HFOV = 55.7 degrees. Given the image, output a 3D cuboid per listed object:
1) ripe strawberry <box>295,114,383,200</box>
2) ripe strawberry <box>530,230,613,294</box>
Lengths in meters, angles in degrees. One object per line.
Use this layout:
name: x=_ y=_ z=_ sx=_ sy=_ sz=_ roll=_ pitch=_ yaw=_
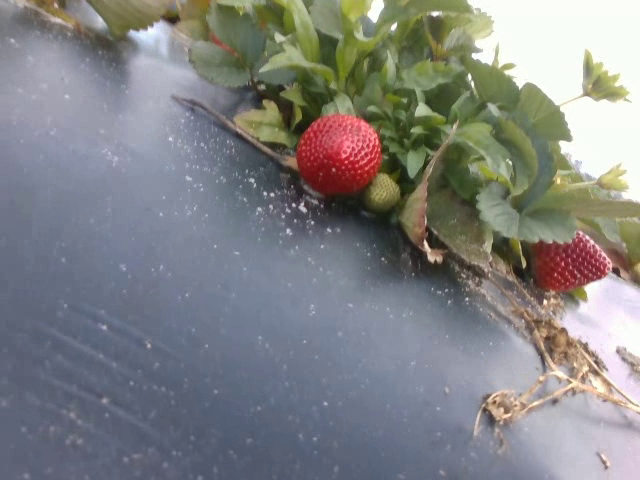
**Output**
ripe strawberry: x=0.006 y=-0.037 z=0.274 sx=0.043 sy=0.043 sz=0.051 roll=33 pitch=17 yaw=-3
ripe strawberry: x=0.145 y=0.010 z=0.346 sx=0.046 sy=0.047 sz=0.043 roll=19 pitch=36 yaw=27
